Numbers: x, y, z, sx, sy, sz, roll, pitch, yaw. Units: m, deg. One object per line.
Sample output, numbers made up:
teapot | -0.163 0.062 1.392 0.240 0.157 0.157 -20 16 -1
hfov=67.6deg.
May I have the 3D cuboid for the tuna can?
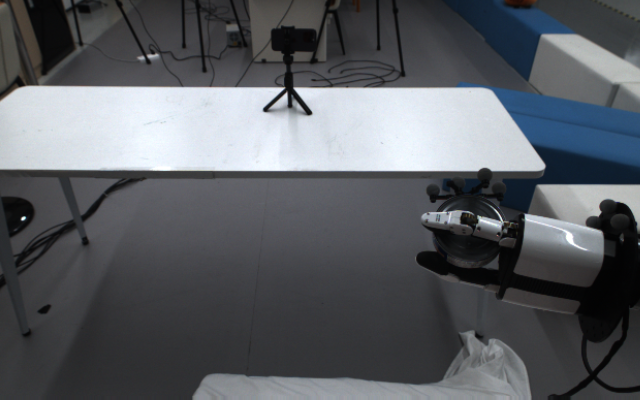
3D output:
tuna can | 0.179 0.035 0.585 0.085 0.034 0.085 -6 59 10
